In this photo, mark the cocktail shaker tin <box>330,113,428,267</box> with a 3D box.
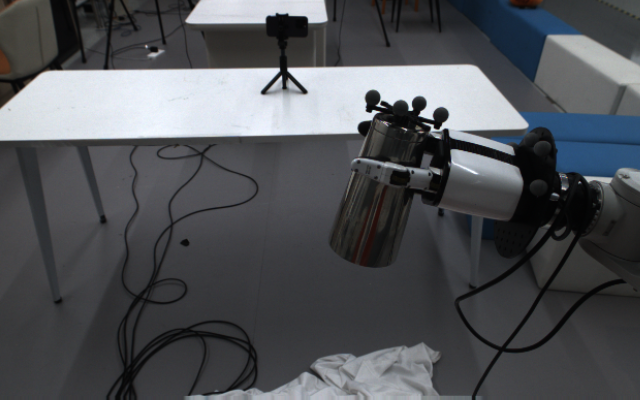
[{"bbox_3d":[0.078,-0.017,0.591,0.093,0.170,0.093,12,25,-6],"label":"cocktail shaker tin"}]
